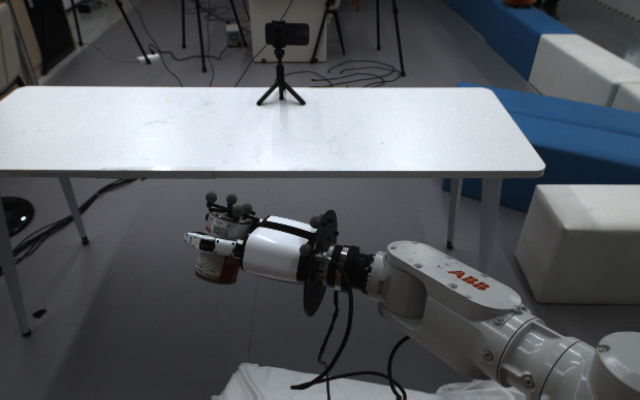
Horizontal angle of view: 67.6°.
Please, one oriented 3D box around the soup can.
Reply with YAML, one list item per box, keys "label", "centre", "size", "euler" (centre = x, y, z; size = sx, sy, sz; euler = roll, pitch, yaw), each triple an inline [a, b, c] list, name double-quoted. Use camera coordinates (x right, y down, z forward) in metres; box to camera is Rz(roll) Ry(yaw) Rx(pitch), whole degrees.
- label: "soup can"
  centre: [-0.148, 0.072, 0.745]
  size: [0.067, 0.101, 0.067]
  euler: [16, 7, -2]
